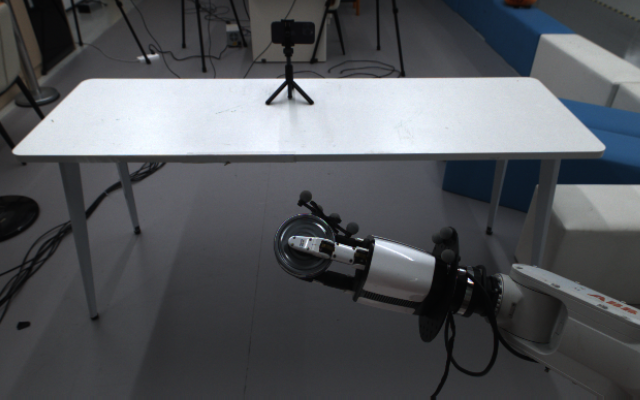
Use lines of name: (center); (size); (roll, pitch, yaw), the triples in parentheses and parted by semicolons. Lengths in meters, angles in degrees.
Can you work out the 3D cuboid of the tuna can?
tuna can: (-0.019, 0.062, 0.663); (0.085, 0.034, 0.085); (0, 74, 0)
